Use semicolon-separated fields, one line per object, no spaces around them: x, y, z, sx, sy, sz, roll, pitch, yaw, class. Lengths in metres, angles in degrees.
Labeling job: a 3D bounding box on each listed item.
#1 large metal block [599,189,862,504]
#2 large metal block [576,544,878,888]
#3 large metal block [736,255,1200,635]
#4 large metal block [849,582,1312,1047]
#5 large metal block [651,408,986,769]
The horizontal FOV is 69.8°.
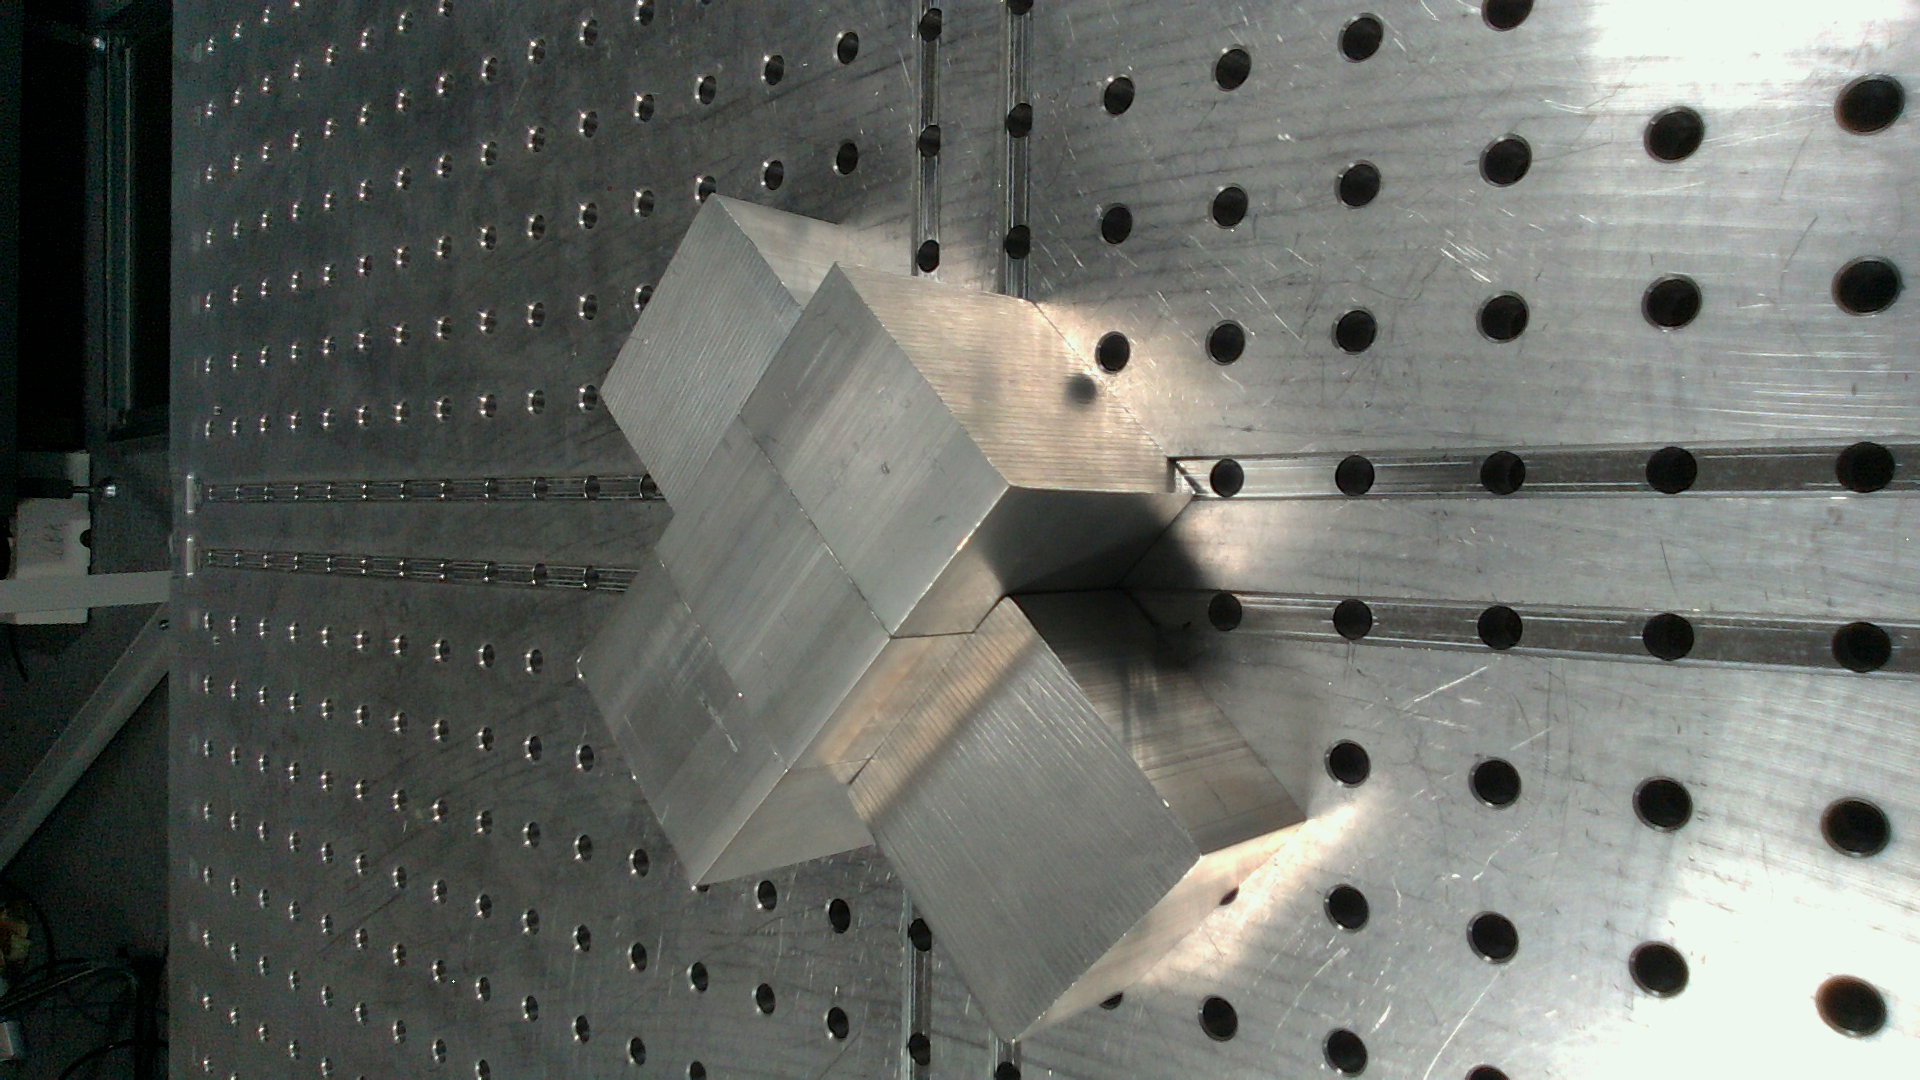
-0.058;-0.048;0.427;0.080;0.050;0.080;52;122;27;large metal block
-0.052;0.047;0.406;0.050;0.080;0.080;-52;60;28;large metal block
0.002;-0.024;0.361;0.050;0.080;0.080;-52;60;28;large metal block
0.028;0.068;0.358;0.080;0.050;0.080;-52;59;29;large metal block
-0.025;0.012;0.384;0.050;0.080;0.080;-52;60;28;large metal block
